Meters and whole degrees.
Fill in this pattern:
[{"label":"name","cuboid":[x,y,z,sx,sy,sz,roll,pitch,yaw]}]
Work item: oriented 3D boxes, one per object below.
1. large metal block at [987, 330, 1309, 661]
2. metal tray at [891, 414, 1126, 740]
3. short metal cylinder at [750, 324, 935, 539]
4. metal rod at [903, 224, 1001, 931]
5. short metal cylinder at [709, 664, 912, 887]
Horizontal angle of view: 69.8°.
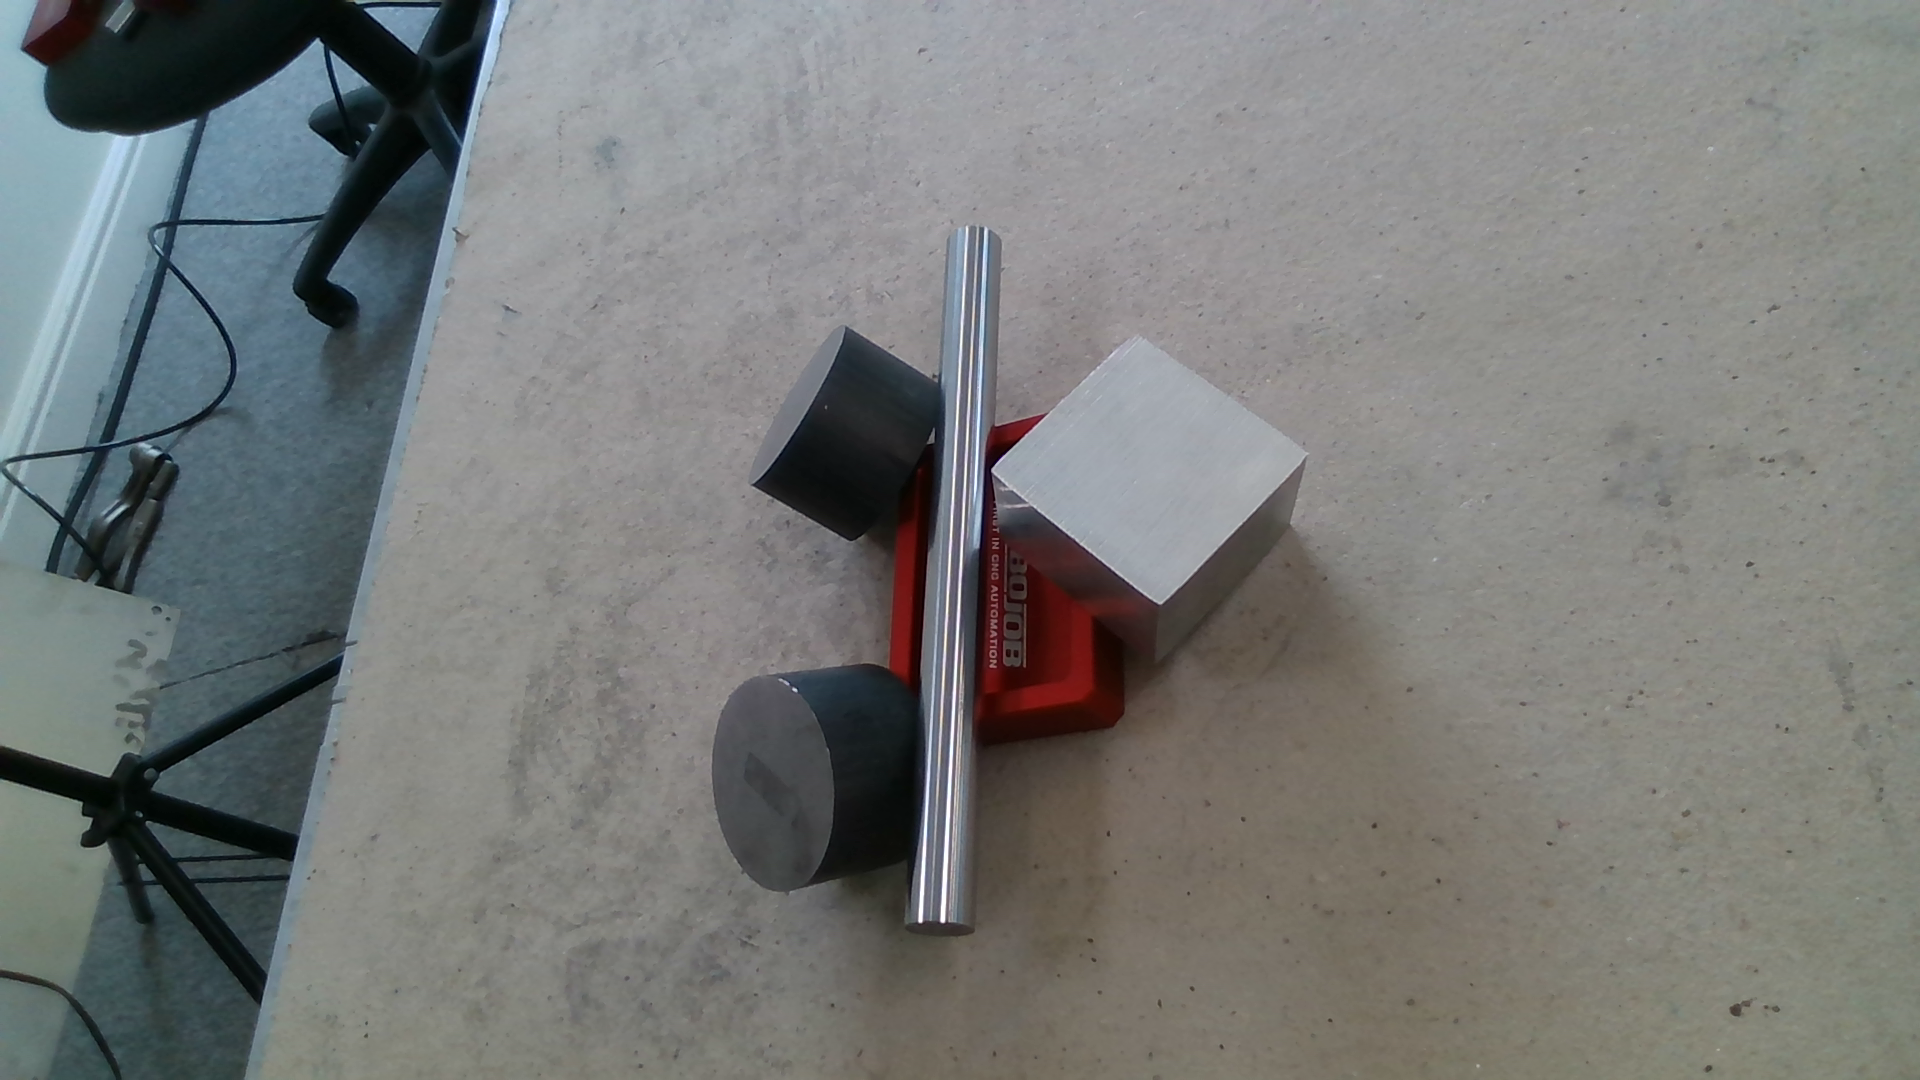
[{"label":"large metal block","cuboid":[0.068,-0.017,0.509,0.080,0.050,0.080,40,73,23]},{"label":"metal tray","cuboid":[0.019,0.015,0.564,0.090,0.030,0.130,-13,60,26]},{"label":"short metal cylinder","cuboid":[-0.051,-0.047,0.603,0.080,0.050,0.080,-52,18,25]},{"label":"metal rod","cuboid":[-0.001,0.001,0.547,0.025,0.025,0.299,-11,60,26]},{"label":"short metal cylinder","cuboid":[-0.054,0.090,0.535,0.080,0.050,0.080,1,91,47]}]
